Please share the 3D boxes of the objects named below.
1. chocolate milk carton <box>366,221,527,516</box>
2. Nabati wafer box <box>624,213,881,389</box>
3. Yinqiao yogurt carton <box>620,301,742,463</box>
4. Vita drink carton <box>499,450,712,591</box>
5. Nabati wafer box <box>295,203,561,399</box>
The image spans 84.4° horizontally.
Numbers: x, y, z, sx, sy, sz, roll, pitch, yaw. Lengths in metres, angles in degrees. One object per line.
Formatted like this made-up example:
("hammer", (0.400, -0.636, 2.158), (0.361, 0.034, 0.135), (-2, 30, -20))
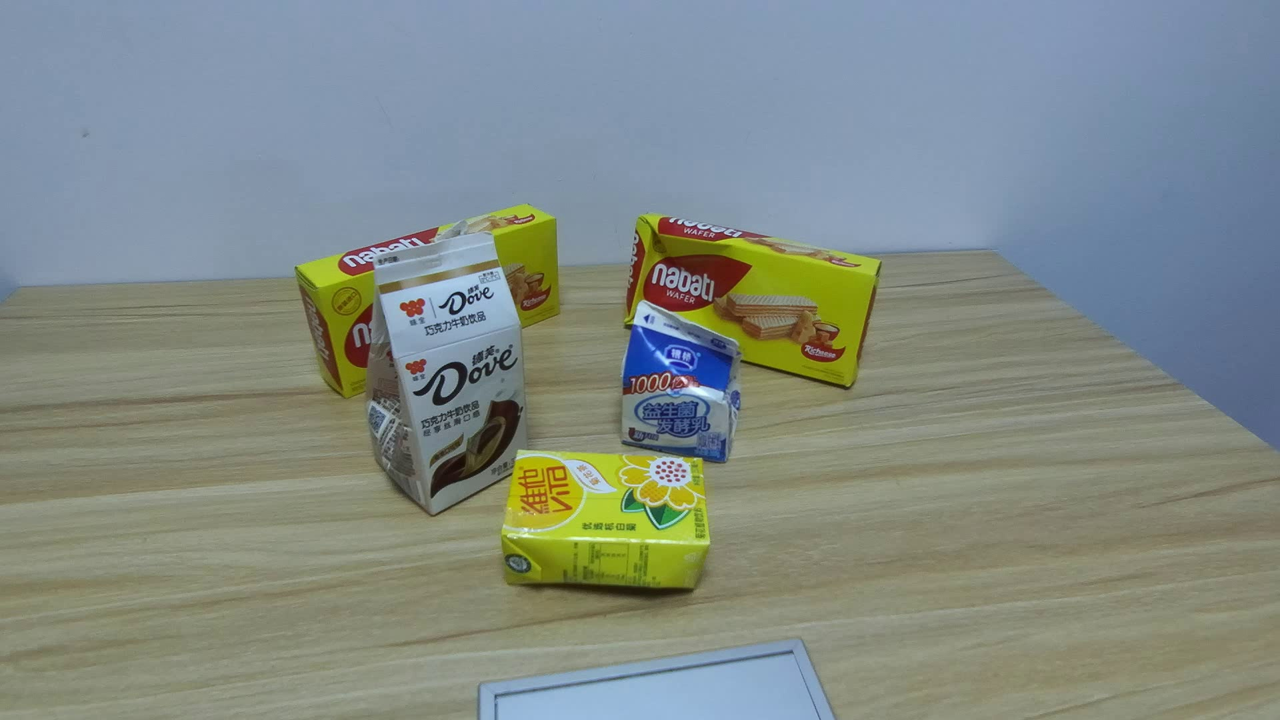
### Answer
("chocolate milk carton", (-0.121, 0.002, 0.419), (0.084, 0.155, 0.072), (-26, 43, -36))
("Nabati wafer box", (0.084, -0.051, 0.571), (0.202, 0.096, 0.042), (16, 24, 19))
("Yinqiao yogurt carton", (0.029, 0.005, 0.477), (0.083, 0.093, 0.077), (10, 34, 11))
("Vita drink carton", (-0.018, 0.091, 0.392), (0.109, 0.043, 0.076), (3, 37, -2))
("Nabati wafer box", (-0.155, -0.052, 0.561), (0.203, 0.093, 0.042), (-26, 41, -36))
